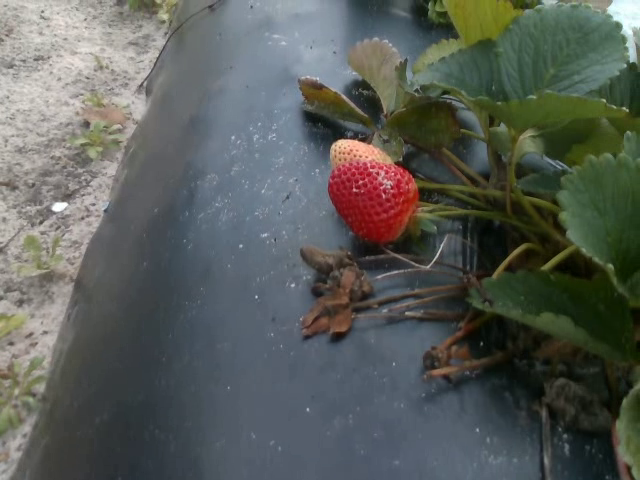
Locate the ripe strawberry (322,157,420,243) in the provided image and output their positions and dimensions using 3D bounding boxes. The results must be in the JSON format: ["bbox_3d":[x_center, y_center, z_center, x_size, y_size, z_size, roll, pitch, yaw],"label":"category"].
[{"bbox_3d":[0.020,-0.019,0.248,0.041,0.034,0.033,37,-31,-9],"label":"ripe strawberry"}]
